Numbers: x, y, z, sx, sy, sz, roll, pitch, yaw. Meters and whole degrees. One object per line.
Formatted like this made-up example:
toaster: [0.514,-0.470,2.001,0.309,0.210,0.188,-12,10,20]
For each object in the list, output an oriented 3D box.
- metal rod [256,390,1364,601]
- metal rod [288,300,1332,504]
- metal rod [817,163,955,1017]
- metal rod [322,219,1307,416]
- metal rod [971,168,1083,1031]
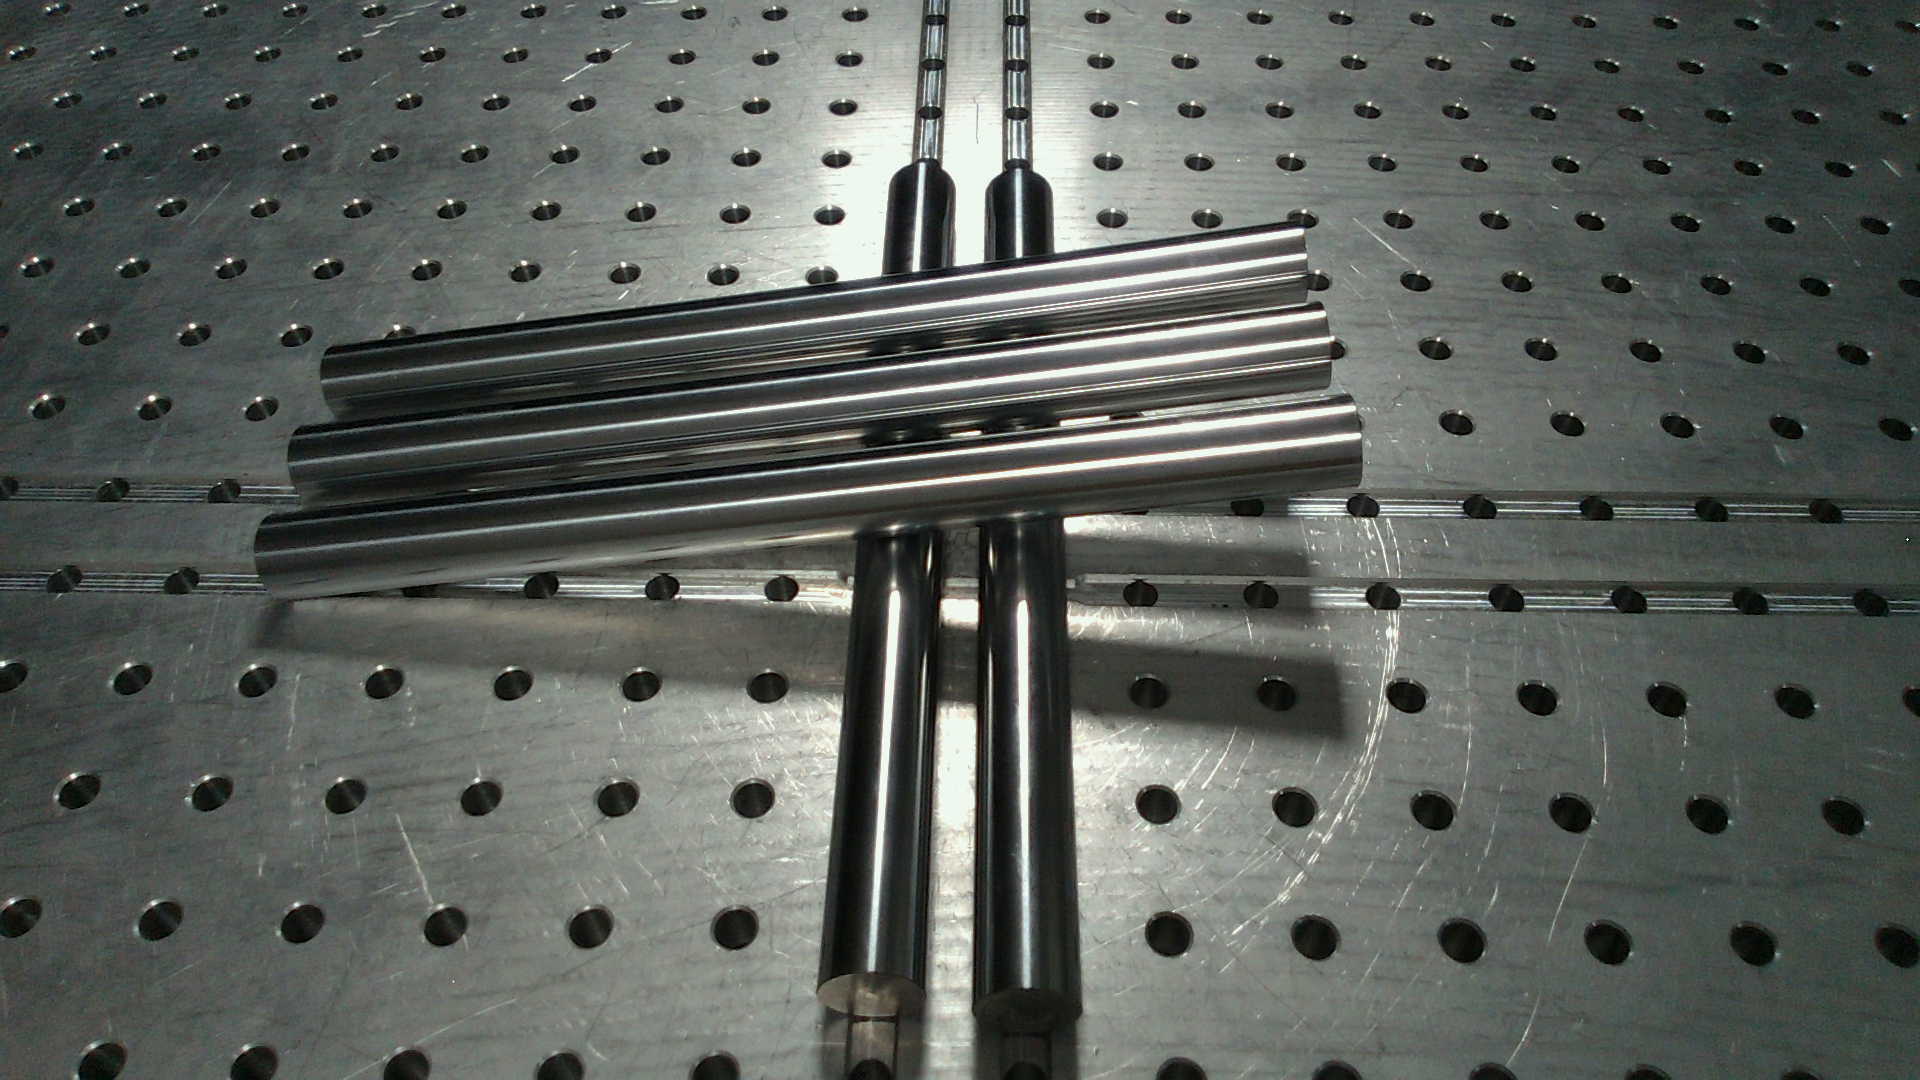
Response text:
metal rod: [-0.045,-0.011,0.376,0.300,0.025,0.025,-6,50,6]
metal rod: [-0.047,-0.038,0.400,0.300,0.025,0.025,-6,50,5]
metal rod: [-0.017,-0.012,0.405,0.025,0.025,0.300,1,50,1]
metal rod: [-0.047,-0.066,0.423,0.300,0.025,0.025,-7,50,5]
metal rod: [0.018,-0.010,0.403,0.025,0.025,0.300,1,50,1]
